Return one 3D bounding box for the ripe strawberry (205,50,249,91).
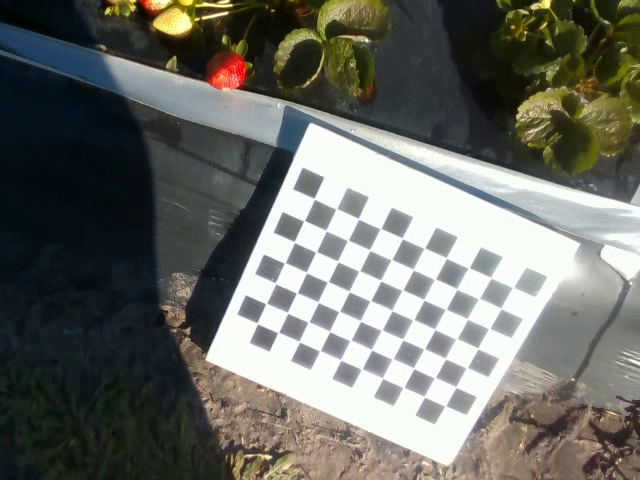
[{"bbox_3d":[-0.077,-0.130,0.488,0.036,0.038,0.046,23,29,2],"label":"ripe strawberry"}]
